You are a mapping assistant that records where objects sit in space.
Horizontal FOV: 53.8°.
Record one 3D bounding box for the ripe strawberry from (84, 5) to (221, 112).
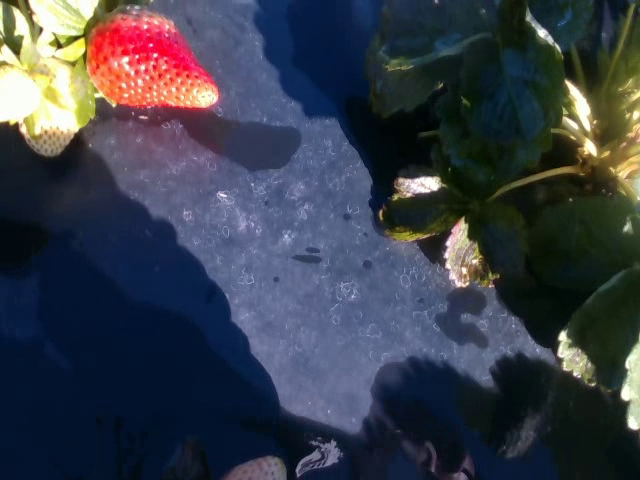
[{"bbox_3d":[-0.065,-0.070,0.256,0.064,0.050,0.052,27,16,7],"label":"ripe strawberry"}]
